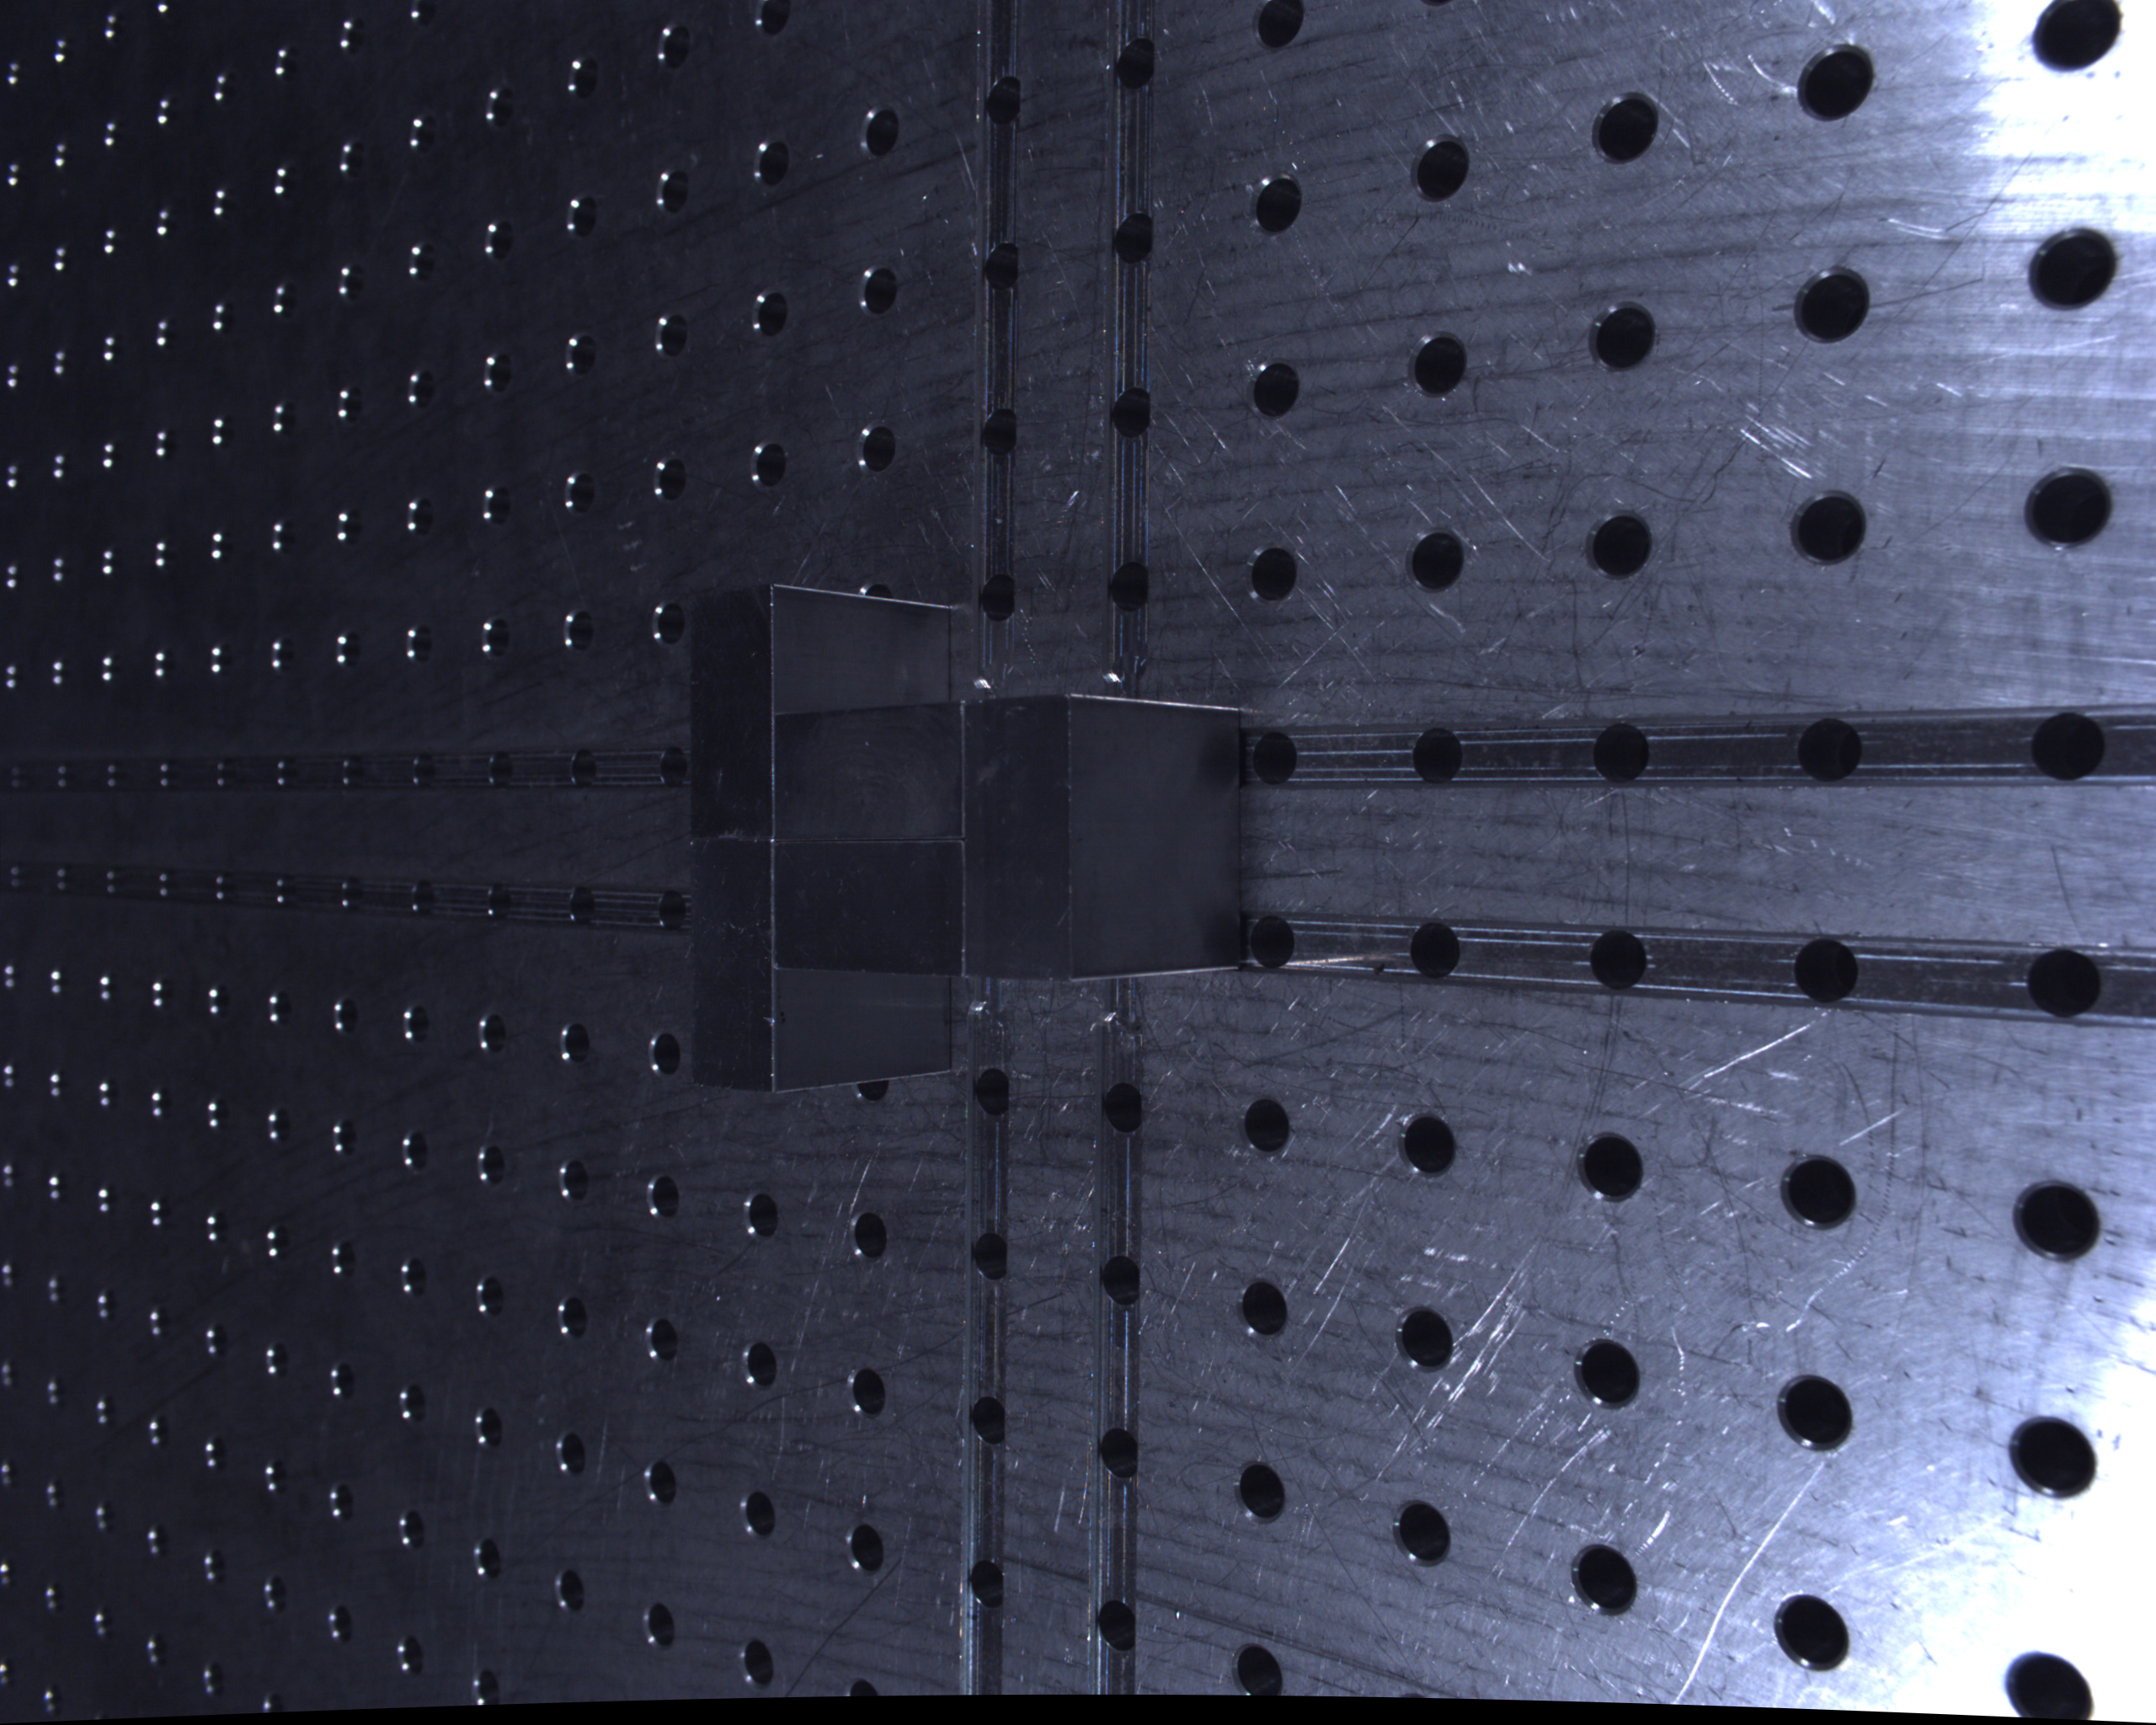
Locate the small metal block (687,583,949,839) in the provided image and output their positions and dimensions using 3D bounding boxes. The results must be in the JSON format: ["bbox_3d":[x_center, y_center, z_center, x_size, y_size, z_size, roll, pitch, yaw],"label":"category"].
[{"bbox_3d":[-0.053,-0.030,0.434,0.025,0.050,0.050,0,90,40],"label":"small metal block"}]

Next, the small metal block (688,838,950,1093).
[{"bbox_3d":[-0.053,0.020,0.434,0.025,0.050,0.050,0,90,40],"label":"small metal block"}]

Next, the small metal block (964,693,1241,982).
[{"bbox_3d":[0.005,-0.004,0.386,0.025,0.050,0.050,0,90,40],"label":"small metal block"}]

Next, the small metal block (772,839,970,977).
[{"bbox_3d":[-0.024,0.008,0.410,0.050,0.050,0.025,0,90,39],"label":"small metal block"}]

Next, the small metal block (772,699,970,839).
[{"bbox_3d":[-0.024,-0.017,0.410,0.050,0.050,0.025,0,90,39],"label":"small metal block"}]
